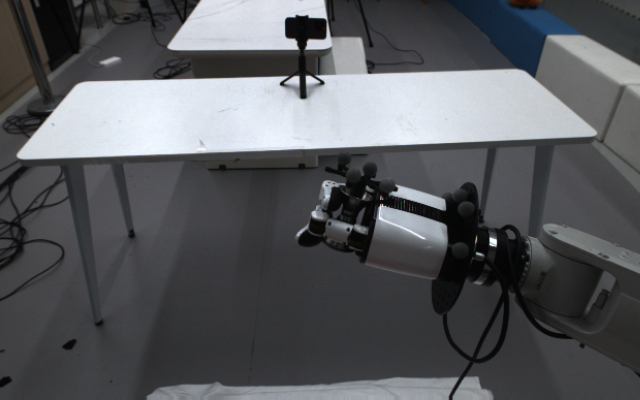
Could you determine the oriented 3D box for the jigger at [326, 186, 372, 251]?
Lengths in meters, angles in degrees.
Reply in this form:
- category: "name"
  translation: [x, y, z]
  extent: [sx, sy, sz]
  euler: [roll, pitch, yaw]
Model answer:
- category: "jigger"
  translation: [0.033, 0.023, 0.573]
  extent: [0.043, 0.071, 0.043]
  euler: [18, 17, -6]
